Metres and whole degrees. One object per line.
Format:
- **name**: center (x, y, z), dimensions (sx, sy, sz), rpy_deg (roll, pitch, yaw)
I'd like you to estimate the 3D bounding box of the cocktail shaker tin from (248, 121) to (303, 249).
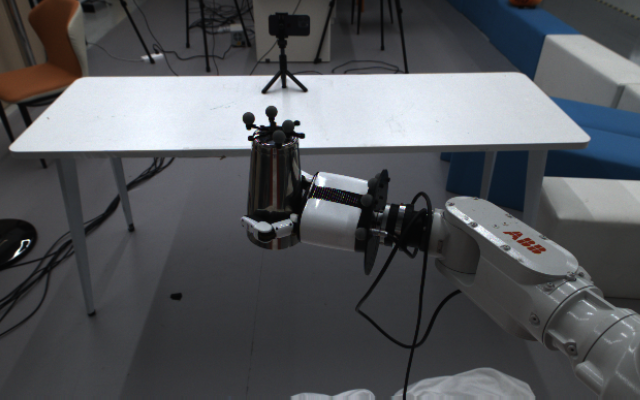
- **cocktail shaker tin**: center (-0.067, -0.021, 0.725), dimensions (0.093, 0.170, 0.093), rpy_deg (2, 34, -2)
